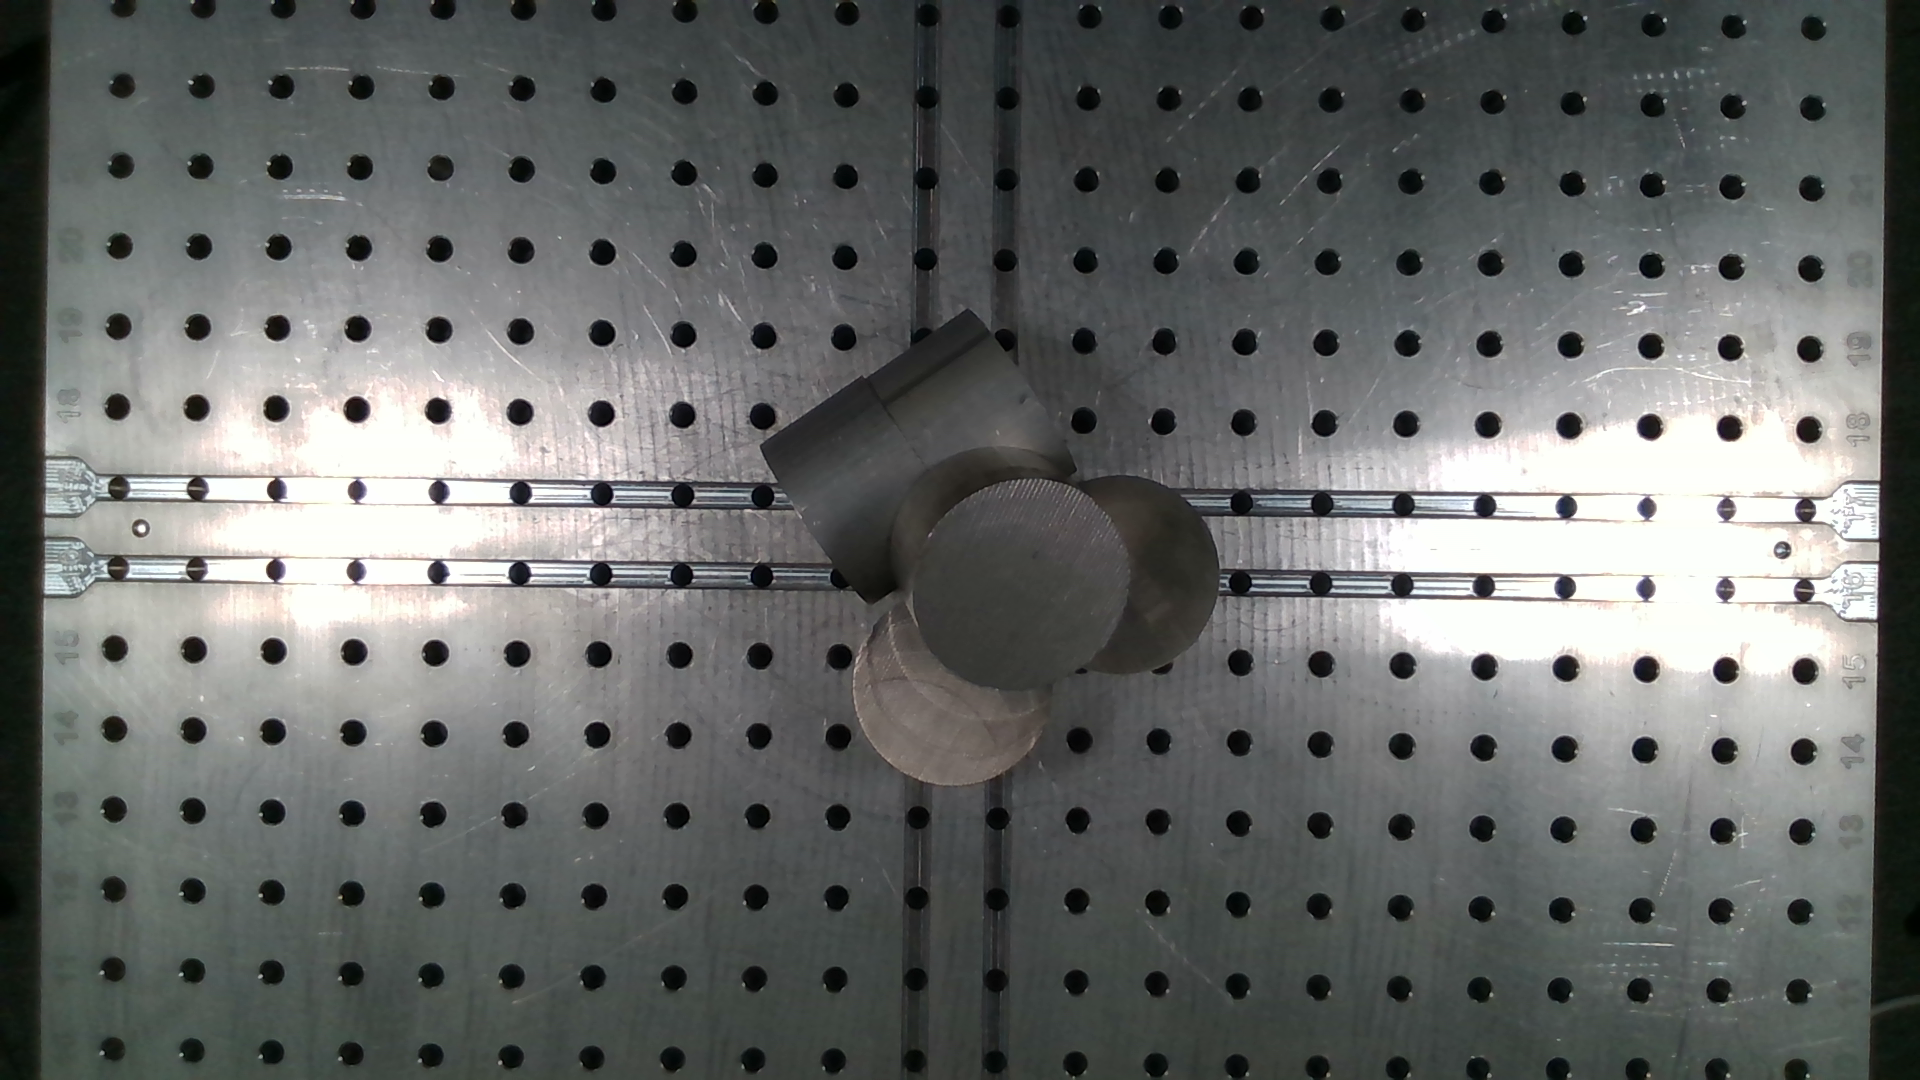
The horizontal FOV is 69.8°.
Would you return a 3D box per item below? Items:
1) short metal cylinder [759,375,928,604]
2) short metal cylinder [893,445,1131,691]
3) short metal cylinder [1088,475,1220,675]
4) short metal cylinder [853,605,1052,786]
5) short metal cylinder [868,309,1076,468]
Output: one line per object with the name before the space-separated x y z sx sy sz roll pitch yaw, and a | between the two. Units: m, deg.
short metal cylinder | -0.038 -0.020 0.561 0.050 0.080 0.080 -34 90 0
short metal cylinder | 0.017 0.009 0.513 0.080 0.050 0.080 -4 108 -11
short metal cylinder | 0.064 0.014 0.576 0.080 0.050 0.080 0 90 0
short metal cylinder | -0.003 0.059 0.576 0.080 0.050 0.080 0 90 0
short metal cylinder | 0.004 -0.047 0.561 0.050 0.080 0.080 -34 90 0
